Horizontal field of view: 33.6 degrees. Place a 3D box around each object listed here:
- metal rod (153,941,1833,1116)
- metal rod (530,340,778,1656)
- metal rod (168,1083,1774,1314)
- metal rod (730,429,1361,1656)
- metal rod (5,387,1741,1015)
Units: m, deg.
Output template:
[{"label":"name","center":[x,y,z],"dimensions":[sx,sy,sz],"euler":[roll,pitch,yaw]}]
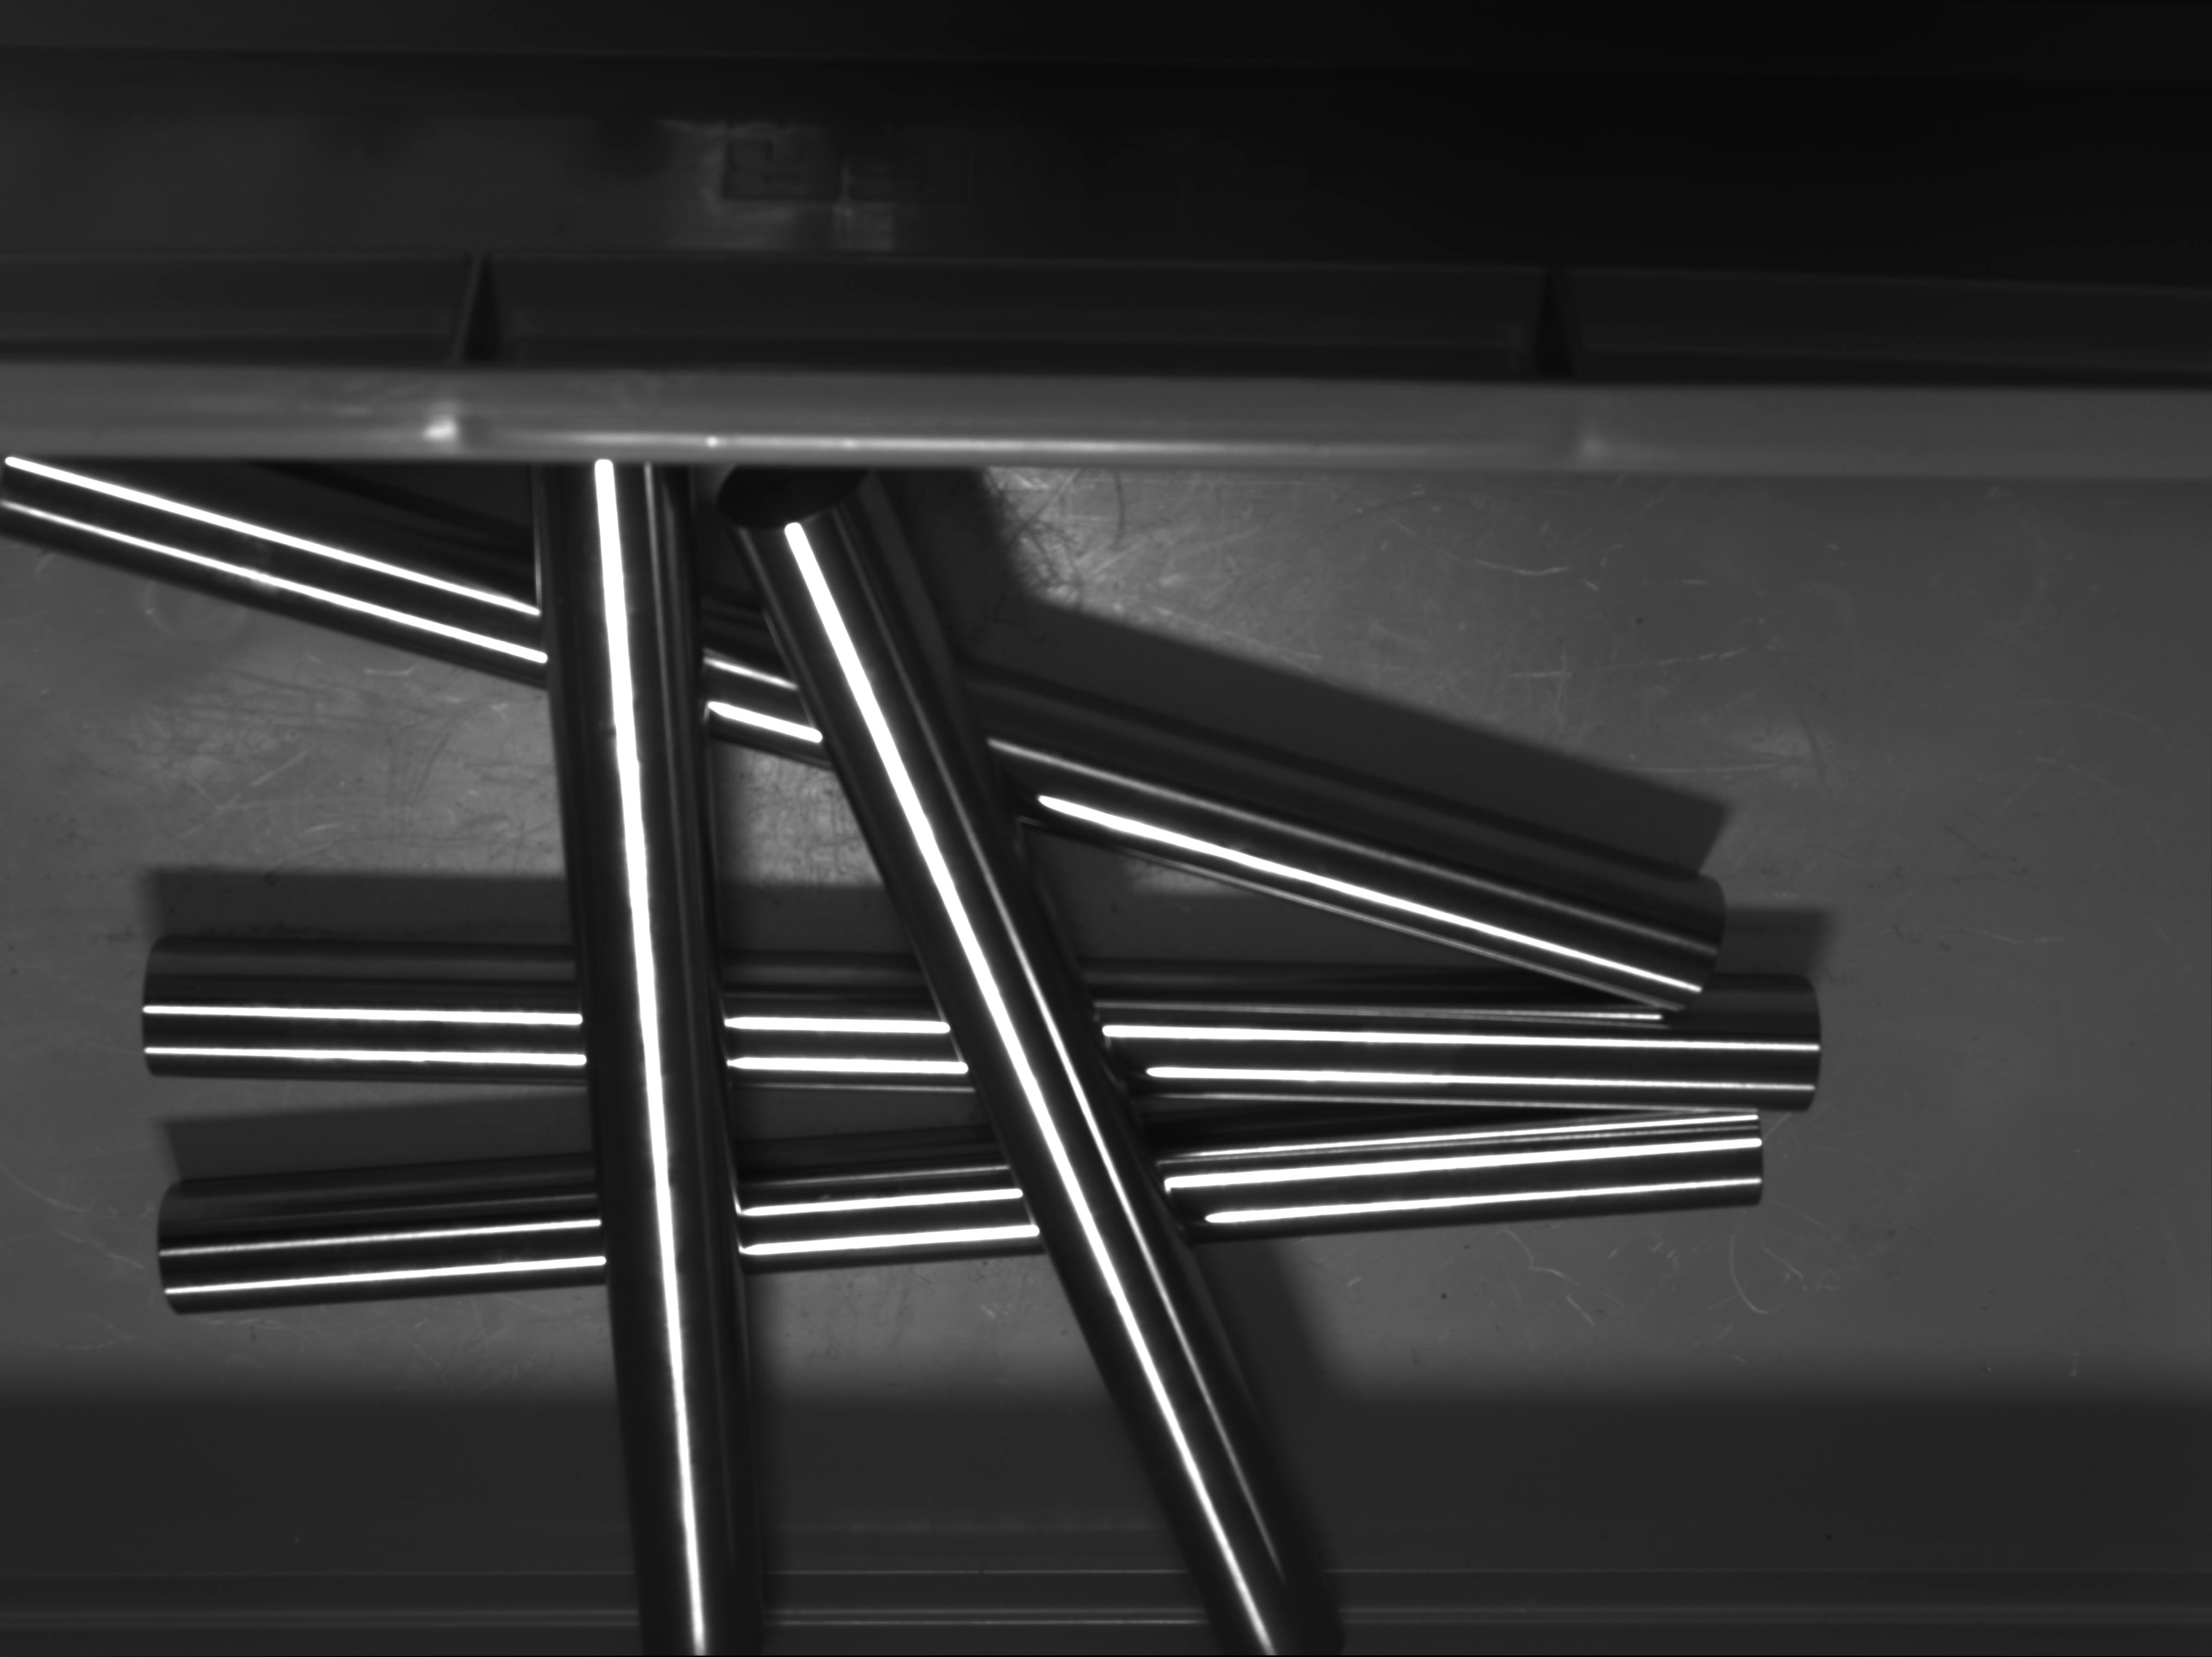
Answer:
[{"label":"metal rod","center":[-0.019,0.037,0.666],"dimensions":[0.300,0.025,0.025],"euler":[2,130,-3]},{"label":"metal rod","center":[-0.076,0.049,0.642],"dimensions":[0.025,0.025,0.300],"euler":[0,130,-2]},{"label":"metal rod","center":[-0.026,0.070,0.695],"dimensions":[0.300,0.025,0.025],"euler":[-4,130,1]},{"label":"metal rod","center":[-0.003,0.056,0.651],"dimensions":[0.025,0.025,0.300],"euler":[-14,129,9]},{"label":"metal rod","center":[-0.032,-0.018,0.620],"dimensions":[0.300,0.025,0.025],"euler":[16,128,-15]}]
